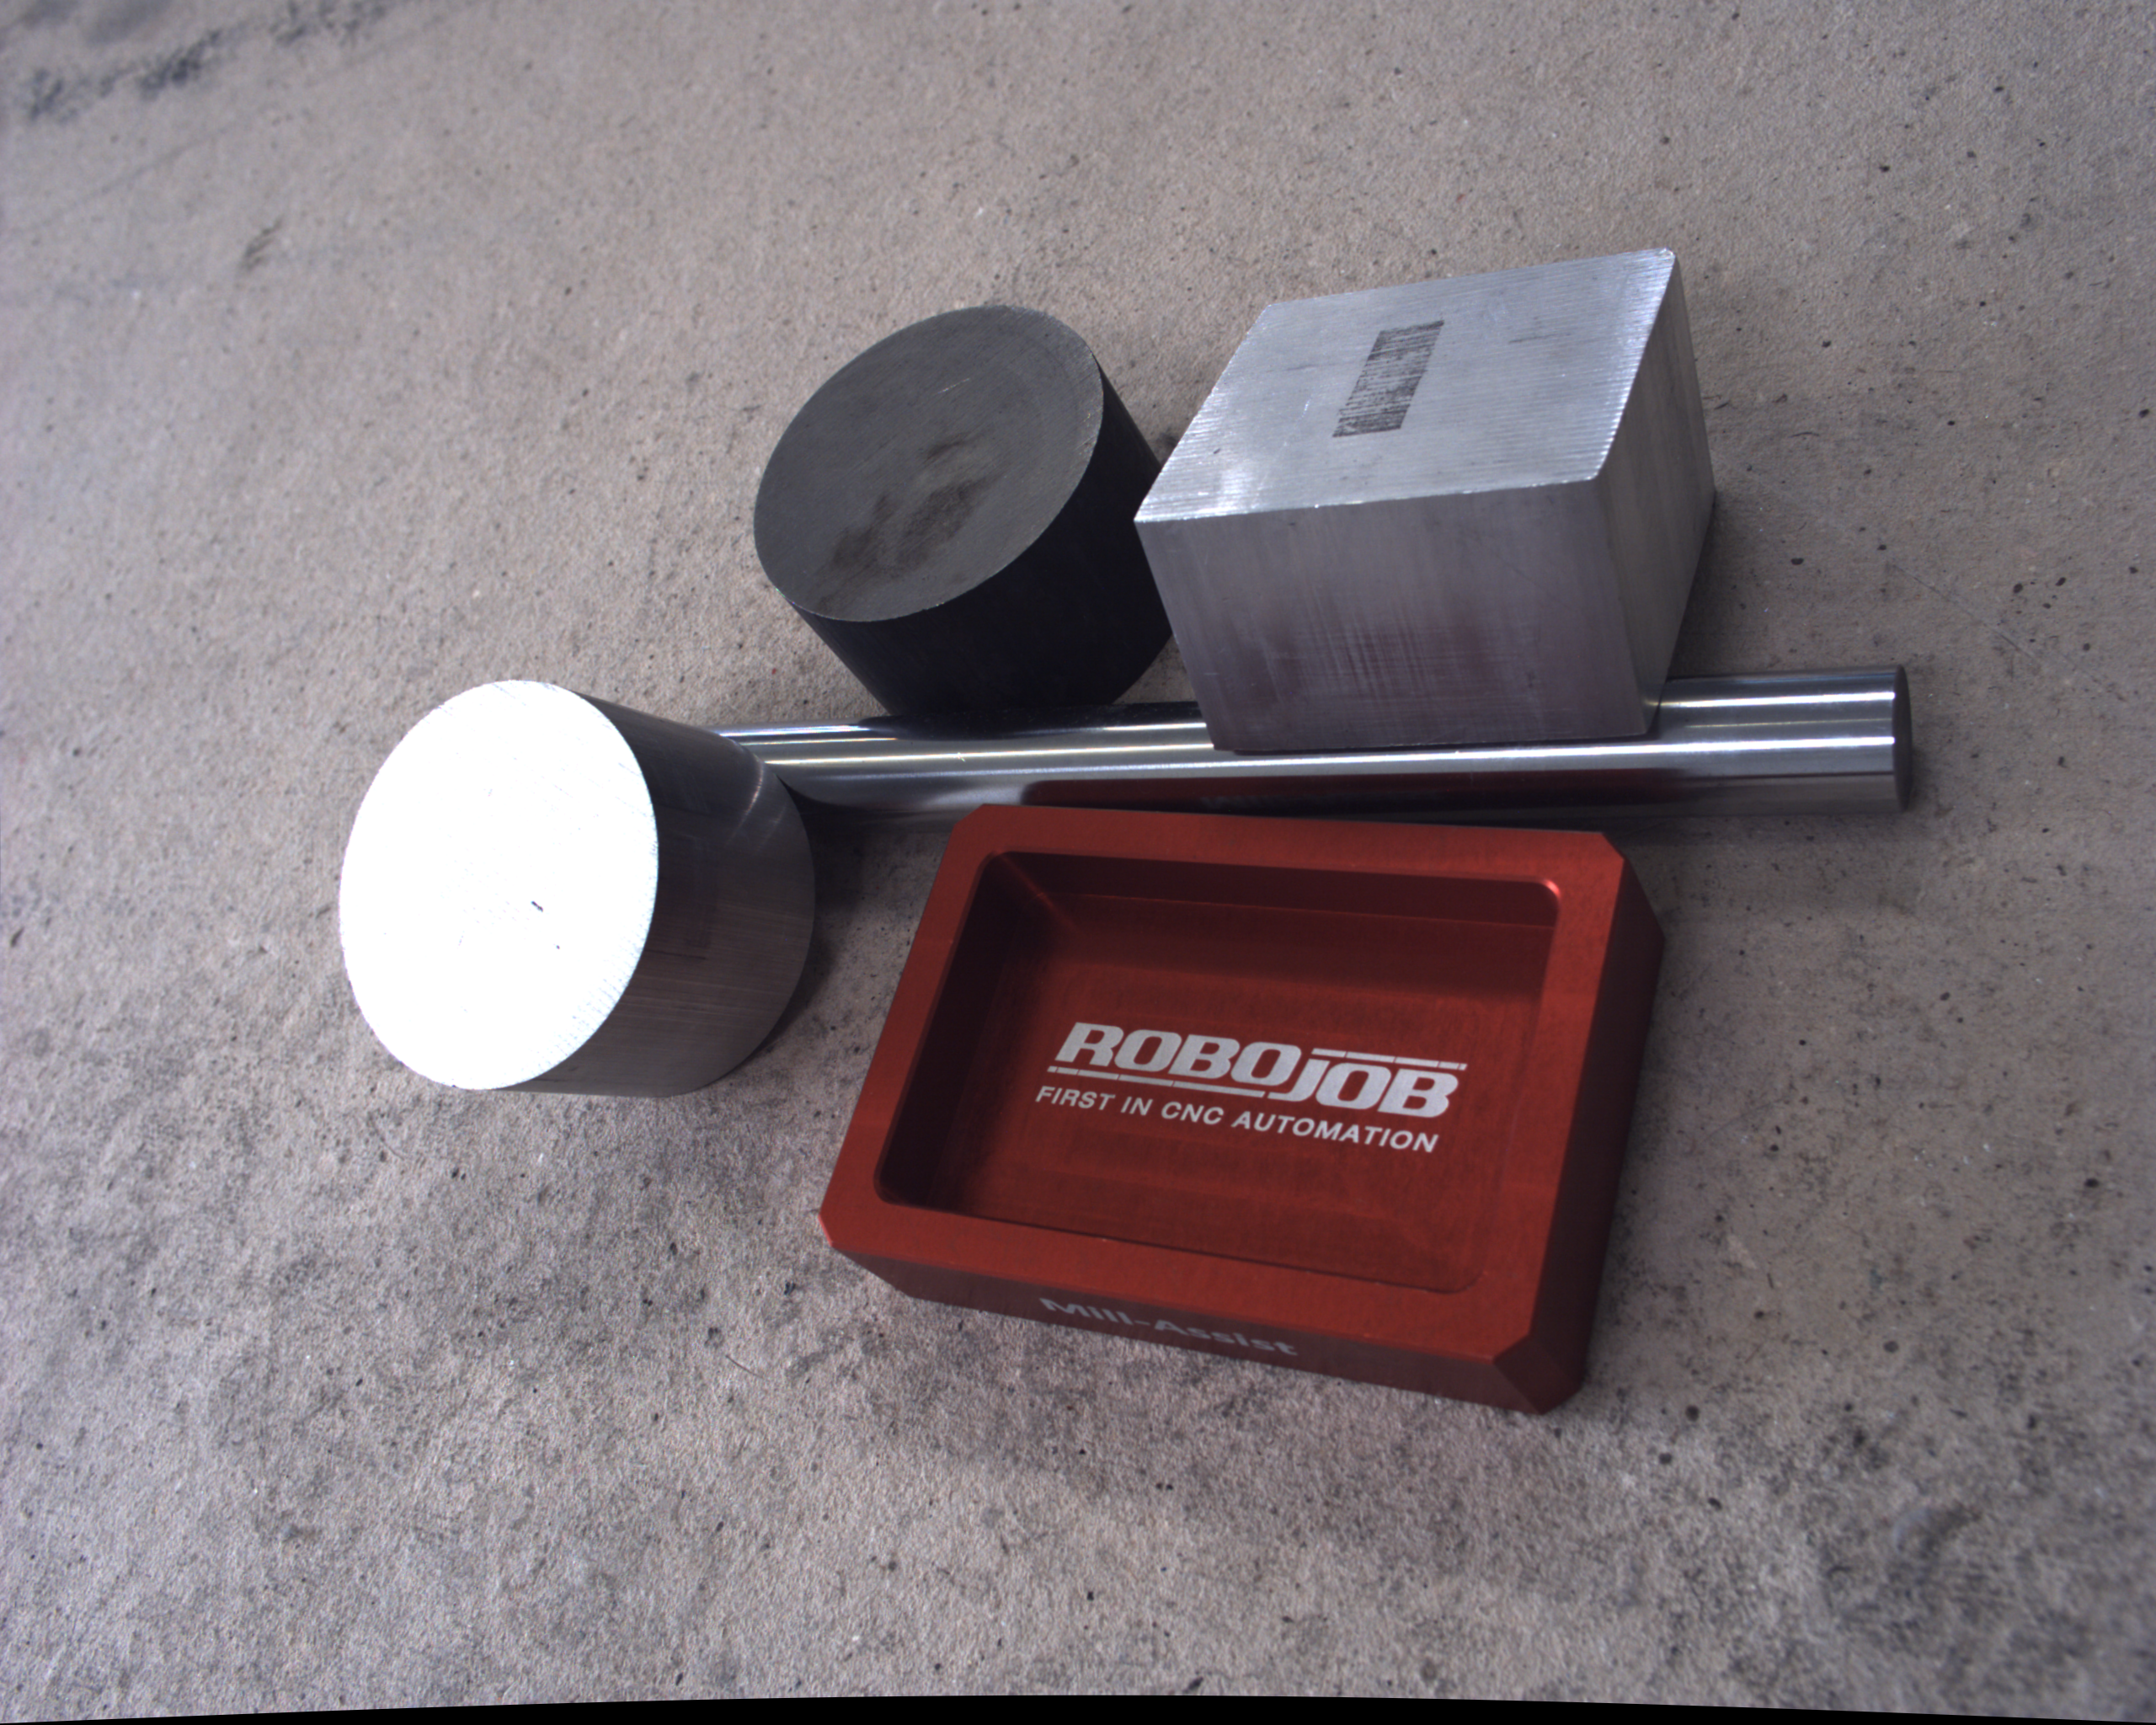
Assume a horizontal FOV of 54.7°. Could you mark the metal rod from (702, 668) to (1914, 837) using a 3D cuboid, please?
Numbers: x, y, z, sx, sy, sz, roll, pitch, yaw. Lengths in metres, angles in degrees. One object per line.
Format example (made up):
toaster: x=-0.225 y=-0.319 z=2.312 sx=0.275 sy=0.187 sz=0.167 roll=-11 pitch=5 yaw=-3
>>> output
metal rod: x=0.004 y=-0.019 z=0.416 sx=0.300 sy=0.025 sz=0.025 roll=-1 pitch=62 yaw=27

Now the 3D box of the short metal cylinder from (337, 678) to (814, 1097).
short metal cylinder: x=-0.101 y=0.007 z=0.423 sx=0.080 sy=0.050 sz=0.080 roll=-4 pitch=80 yaw=27

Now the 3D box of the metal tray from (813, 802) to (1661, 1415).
metal tray: x=0.027 y=0.038 z=0.364 sx=0.130 sy=0.030 sz=0.090 roll=4 pitch=63 yaw=29

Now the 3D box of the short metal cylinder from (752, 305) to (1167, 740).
short metal cylinder: x=-0.021 y=-0.071 z=0.444 sx=0.080 sy=0.050 sz=0.080 roll=-13 pitch=56 yaw=20

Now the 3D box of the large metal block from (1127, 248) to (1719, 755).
large metal block: x=0.066 y=-0.065 z=0.379 sx=0.080 sy=0.050 sz=0.080 roll=-1 pitch=40 yaw=28
